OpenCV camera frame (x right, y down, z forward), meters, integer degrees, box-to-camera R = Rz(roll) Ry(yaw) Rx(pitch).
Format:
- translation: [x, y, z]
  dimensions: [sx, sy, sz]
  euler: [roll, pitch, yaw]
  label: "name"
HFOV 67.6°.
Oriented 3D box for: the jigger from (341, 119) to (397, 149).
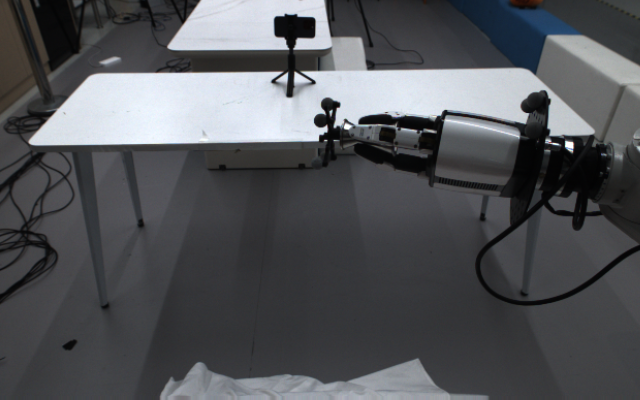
- translation: [0.068, -0.082, 0.606]
  dimensions: [0.071, 0.043, 0.043]
  euler: [7, 35, 15]
  label: "jigger"
